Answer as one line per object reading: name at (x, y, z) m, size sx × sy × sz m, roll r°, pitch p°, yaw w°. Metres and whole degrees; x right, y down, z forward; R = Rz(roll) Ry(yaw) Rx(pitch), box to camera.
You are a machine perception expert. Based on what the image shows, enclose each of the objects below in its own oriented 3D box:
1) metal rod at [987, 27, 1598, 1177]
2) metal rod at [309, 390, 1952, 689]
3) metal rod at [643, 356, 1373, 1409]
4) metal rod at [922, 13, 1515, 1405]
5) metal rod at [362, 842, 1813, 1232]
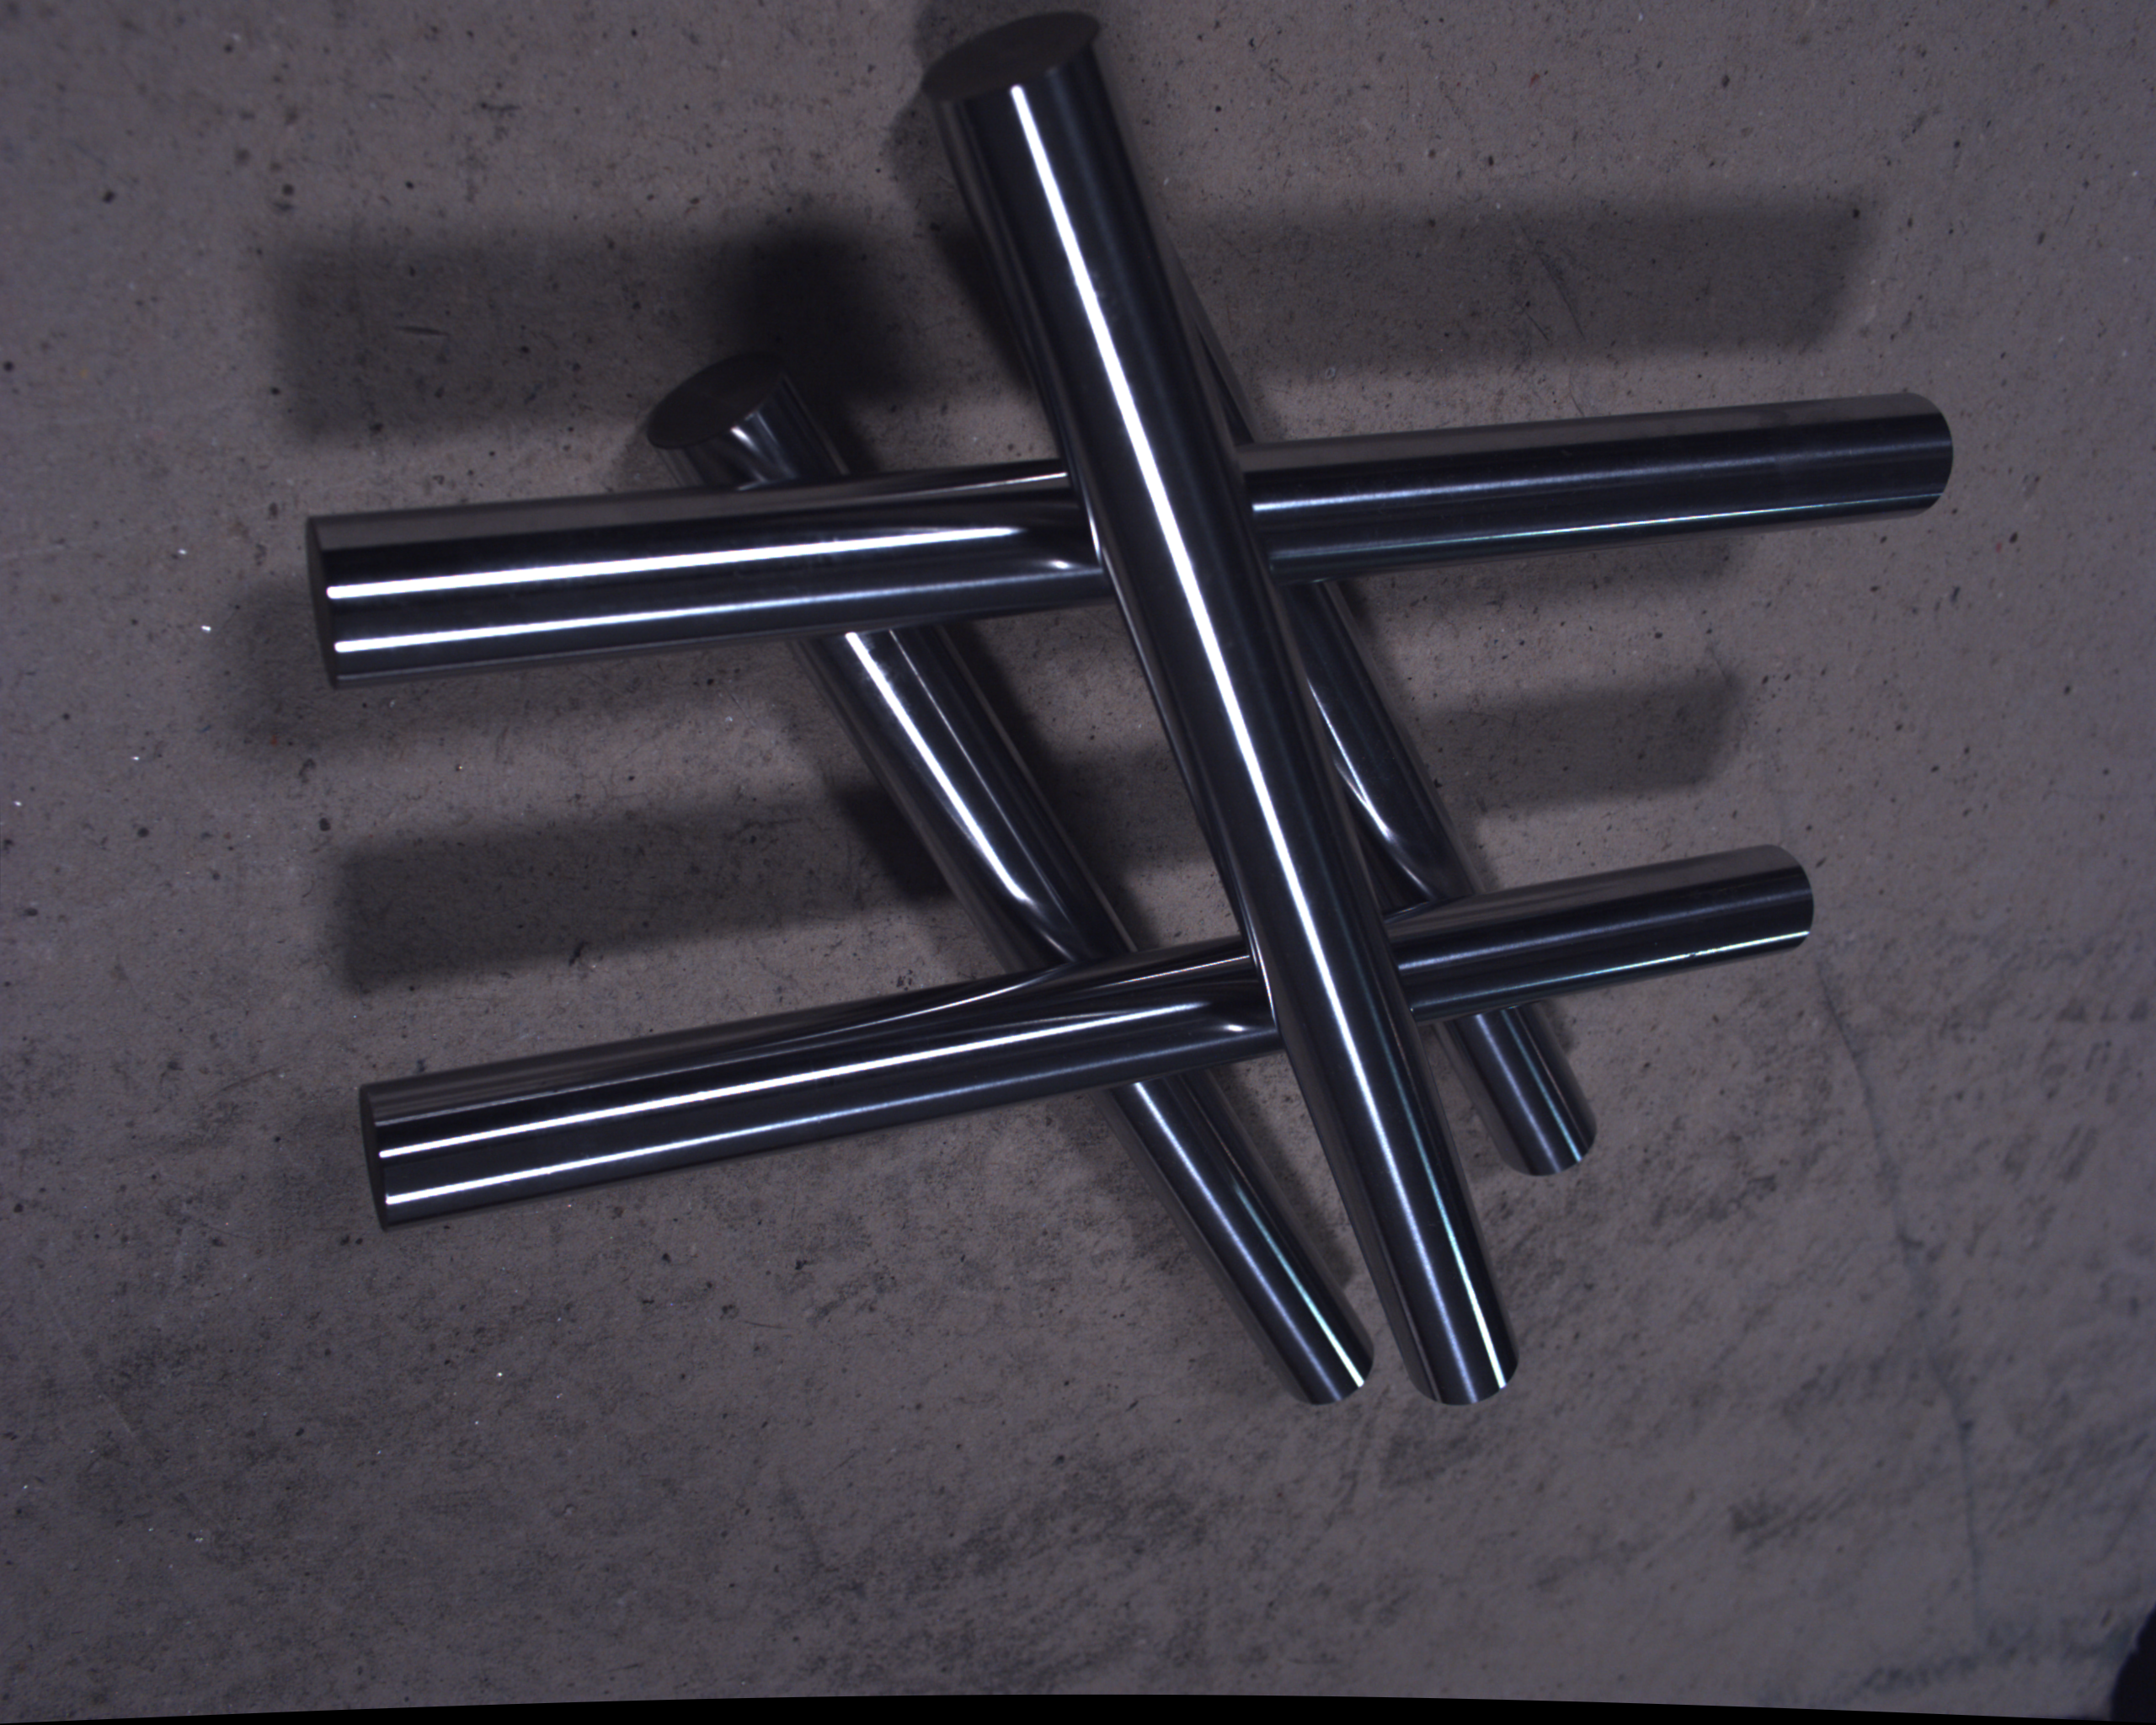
metal rod at (0.052, -0.029, 0.420) m, size 0.025 × 0.025 × 0.299 m, roll -37°, pitch 130°, yaw -4°
metal rod at (0.029, -0.060, 0.357) m, size 0.303 × 0.025 × 0.025 m, roll -9°, pitch 123°, yaw -24°
metal rod at (0.002, 0.026, 0.426) m, size 0.025 × 0.025 × 0.299 m, roll -35°, pitch 129°, yaw -5°
metal rod at (0.038, 0.001, 0.367) m, size 0.025 × 0.025 × 0.299 m, roll -31°, pitch 129°, yaw -9°
metal rod at (0.020, 0.028, 0.406) m, size 0.303 × 0.025 × 0.025 m, roll -9°, pitch 122°, yaw -24°
